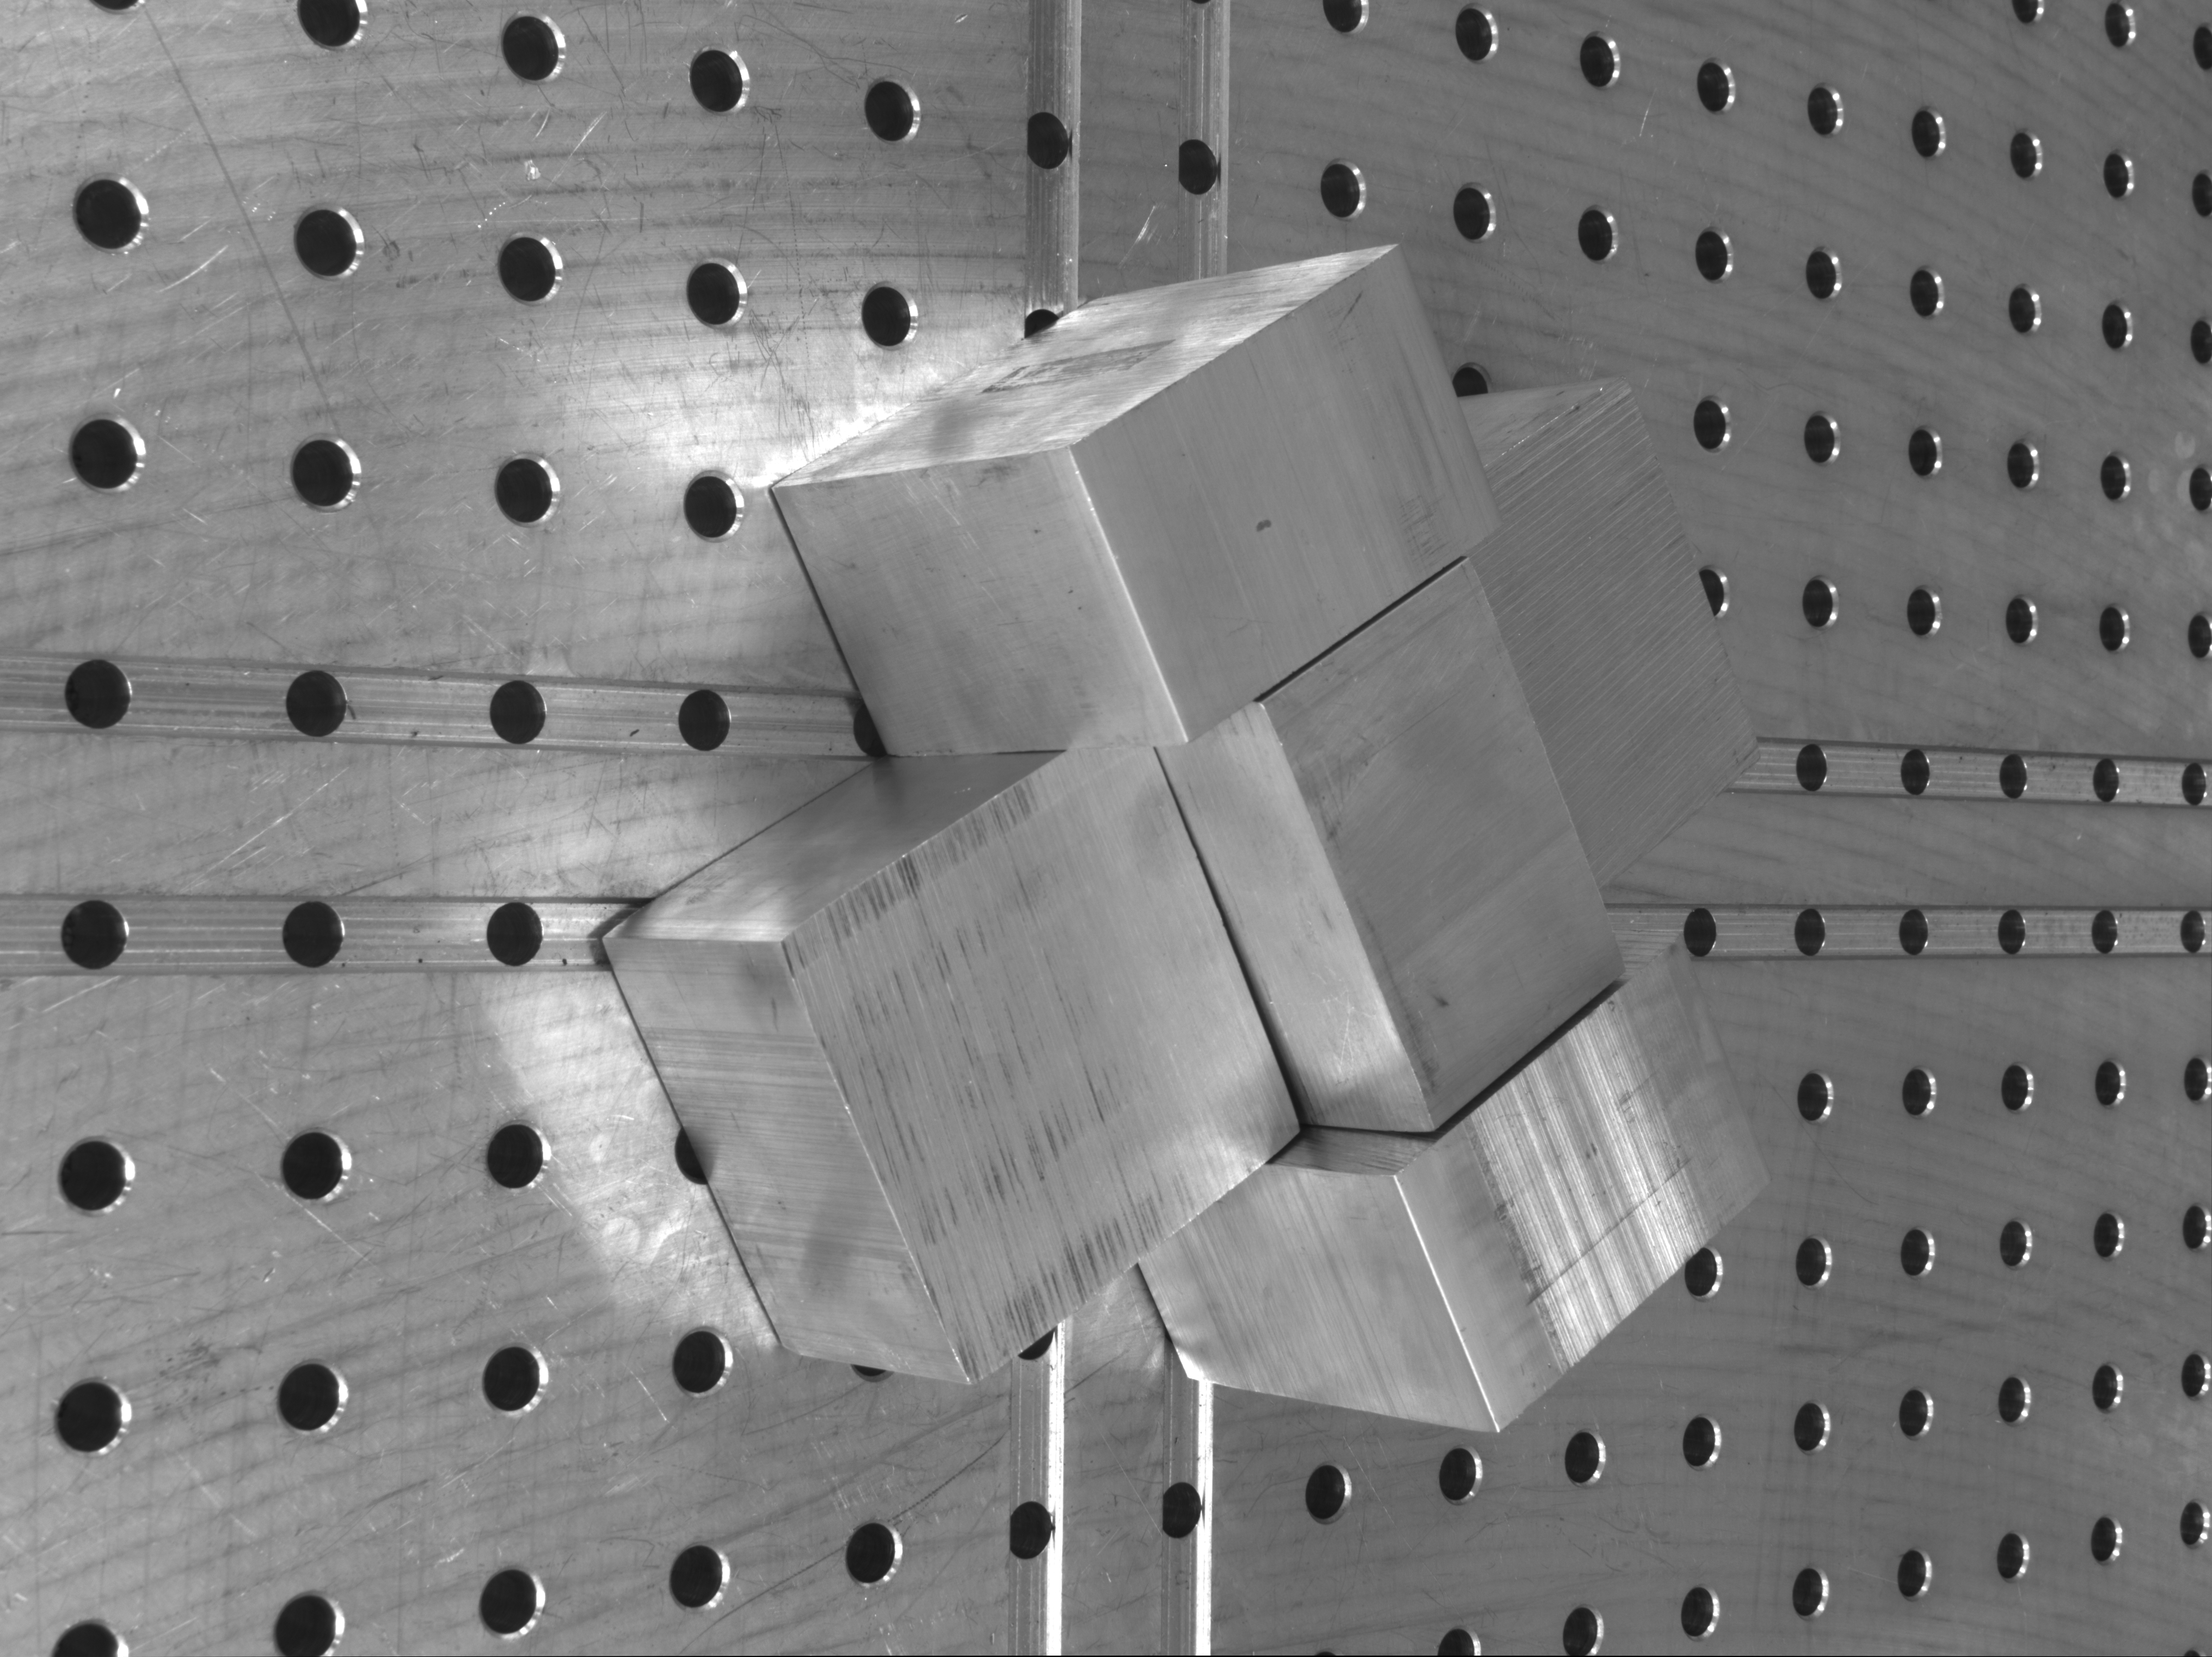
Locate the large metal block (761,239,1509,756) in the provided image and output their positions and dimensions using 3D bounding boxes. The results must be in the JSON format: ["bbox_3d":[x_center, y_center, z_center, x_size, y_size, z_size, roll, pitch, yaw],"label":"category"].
[{"bbox_3d":[0.005,-0.054,0.607,0.080,0.080,0.050,-35,111,-34],"label":"large metal block"}]

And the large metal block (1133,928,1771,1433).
[{"bbox_3d":[0.056,0.059,0.650,0.080,0.080,0.050,-36,112,-35],"label":"large metal block"}]

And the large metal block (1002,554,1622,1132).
[{"bbox_3d":[0.031,0.002,0.629,0.050,0.080,0.080,-35,112,-34],"label":"large metal block"}]

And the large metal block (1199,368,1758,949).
[{"bbox_3d":[0.066,-0.030,0.677,0.080,0.050,0.080,-35,114,-34],"label":"large metal block"}]

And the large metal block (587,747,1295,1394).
[{"bbox_3d":[-0.026,0.035,0.603,0.080,0.050,0.080,-33,110,-35],"label":"large metal block"}]
